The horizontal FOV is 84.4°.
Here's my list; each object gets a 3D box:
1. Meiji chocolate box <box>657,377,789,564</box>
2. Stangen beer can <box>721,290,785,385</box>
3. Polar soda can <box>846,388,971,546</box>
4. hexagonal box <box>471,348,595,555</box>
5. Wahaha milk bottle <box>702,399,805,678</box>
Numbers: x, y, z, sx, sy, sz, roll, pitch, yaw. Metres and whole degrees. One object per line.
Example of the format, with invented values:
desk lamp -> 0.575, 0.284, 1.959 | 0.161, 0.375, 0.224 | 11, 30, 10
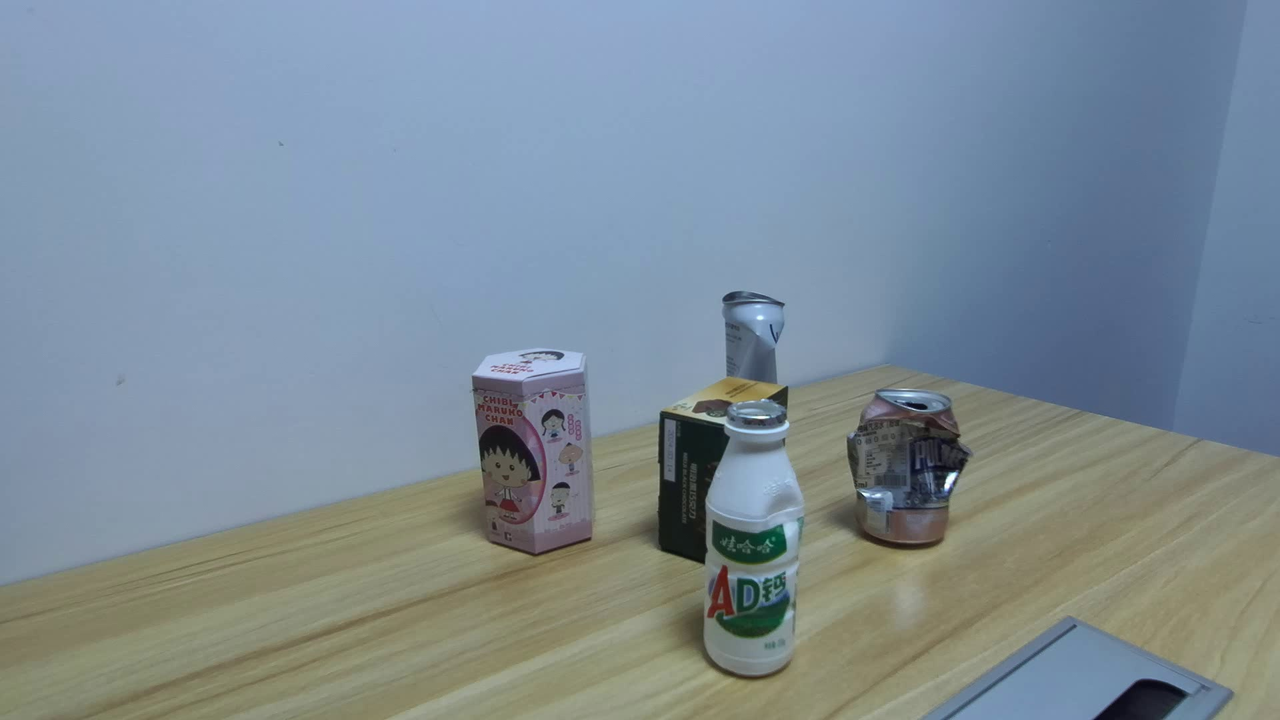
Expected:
Meiji chocolate box -> 0.066, 0.080, 0.538 | 0.056, 0.109, 0.110 | 9, 18, 35
Stangen beer can -> 0.100, 0.022, 0.640 | 0.076, 0.162, 0.066 | 11, 18, 41
Polar soda can -> 0.198, 0.078, 0.522 | 0.074, 0.114, 0.070 | -19, 28, -40
hexagonal box -> -0.078, 0.067, 0.539 | 0.091, 0.136, 0.084 | 7, 17, 28
Wahaha milk bottle -> 0.063, 0.102, 0.386 | 0.053, 0.136, 0.053 | 0, 14, 0
